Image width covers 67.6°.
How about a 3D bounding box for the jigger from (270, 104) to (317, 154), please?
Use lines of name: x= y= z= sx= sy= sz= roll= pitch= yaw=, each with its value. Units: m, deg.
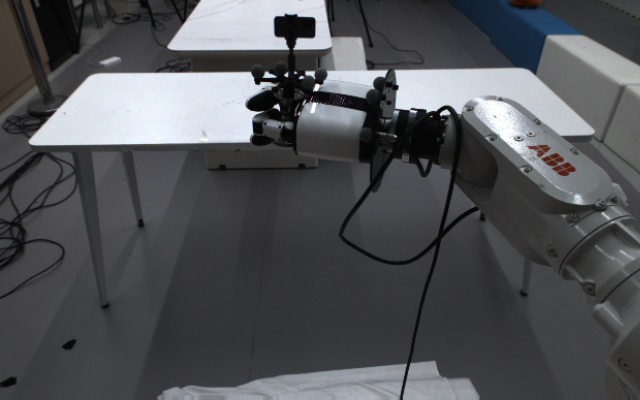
jigger: x=-0.040 y=-0.112 z=0.657 sx=0.043 sy=0.071 sz=0.043 roll=4 pitch=31 yaw=-2
